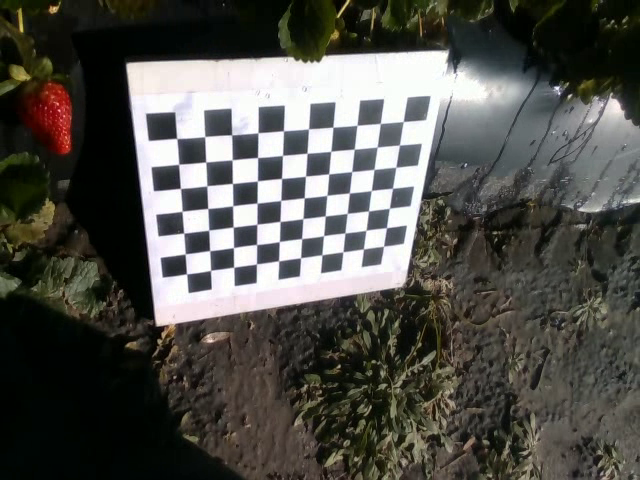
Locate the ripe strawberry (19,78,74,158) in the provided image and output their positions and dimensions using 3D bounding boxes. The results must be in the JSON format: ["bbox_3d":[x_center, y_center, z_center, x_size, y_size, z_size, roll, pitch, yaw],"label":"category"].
[{"bbox_3d":[-0.215,-0.095,0.501,0.048,0.069,0.040,-22,31,-6],"label":"ripe strawberry"}]
